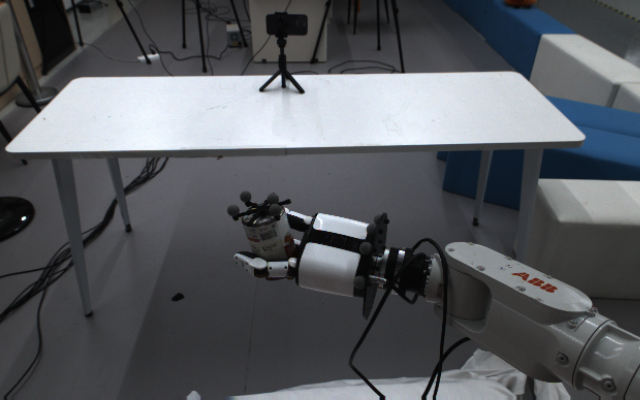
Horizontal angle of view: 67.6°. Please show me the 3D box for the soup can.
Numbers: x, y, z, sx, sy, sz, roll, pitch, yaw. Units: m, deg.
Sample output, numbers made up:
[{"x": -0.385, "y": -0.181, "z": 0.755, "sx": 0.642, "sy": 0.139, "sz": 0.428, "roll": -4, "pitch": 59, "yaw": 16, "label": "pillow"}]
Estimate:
[{"x": -0.072, "y": 0.062, "z": 0.731, "sx": 0.067, "sy": 0.101, "sz": 0.067, "roll": -11, "pitch": 27, "yaw": 6, "label": "soup can"}]
